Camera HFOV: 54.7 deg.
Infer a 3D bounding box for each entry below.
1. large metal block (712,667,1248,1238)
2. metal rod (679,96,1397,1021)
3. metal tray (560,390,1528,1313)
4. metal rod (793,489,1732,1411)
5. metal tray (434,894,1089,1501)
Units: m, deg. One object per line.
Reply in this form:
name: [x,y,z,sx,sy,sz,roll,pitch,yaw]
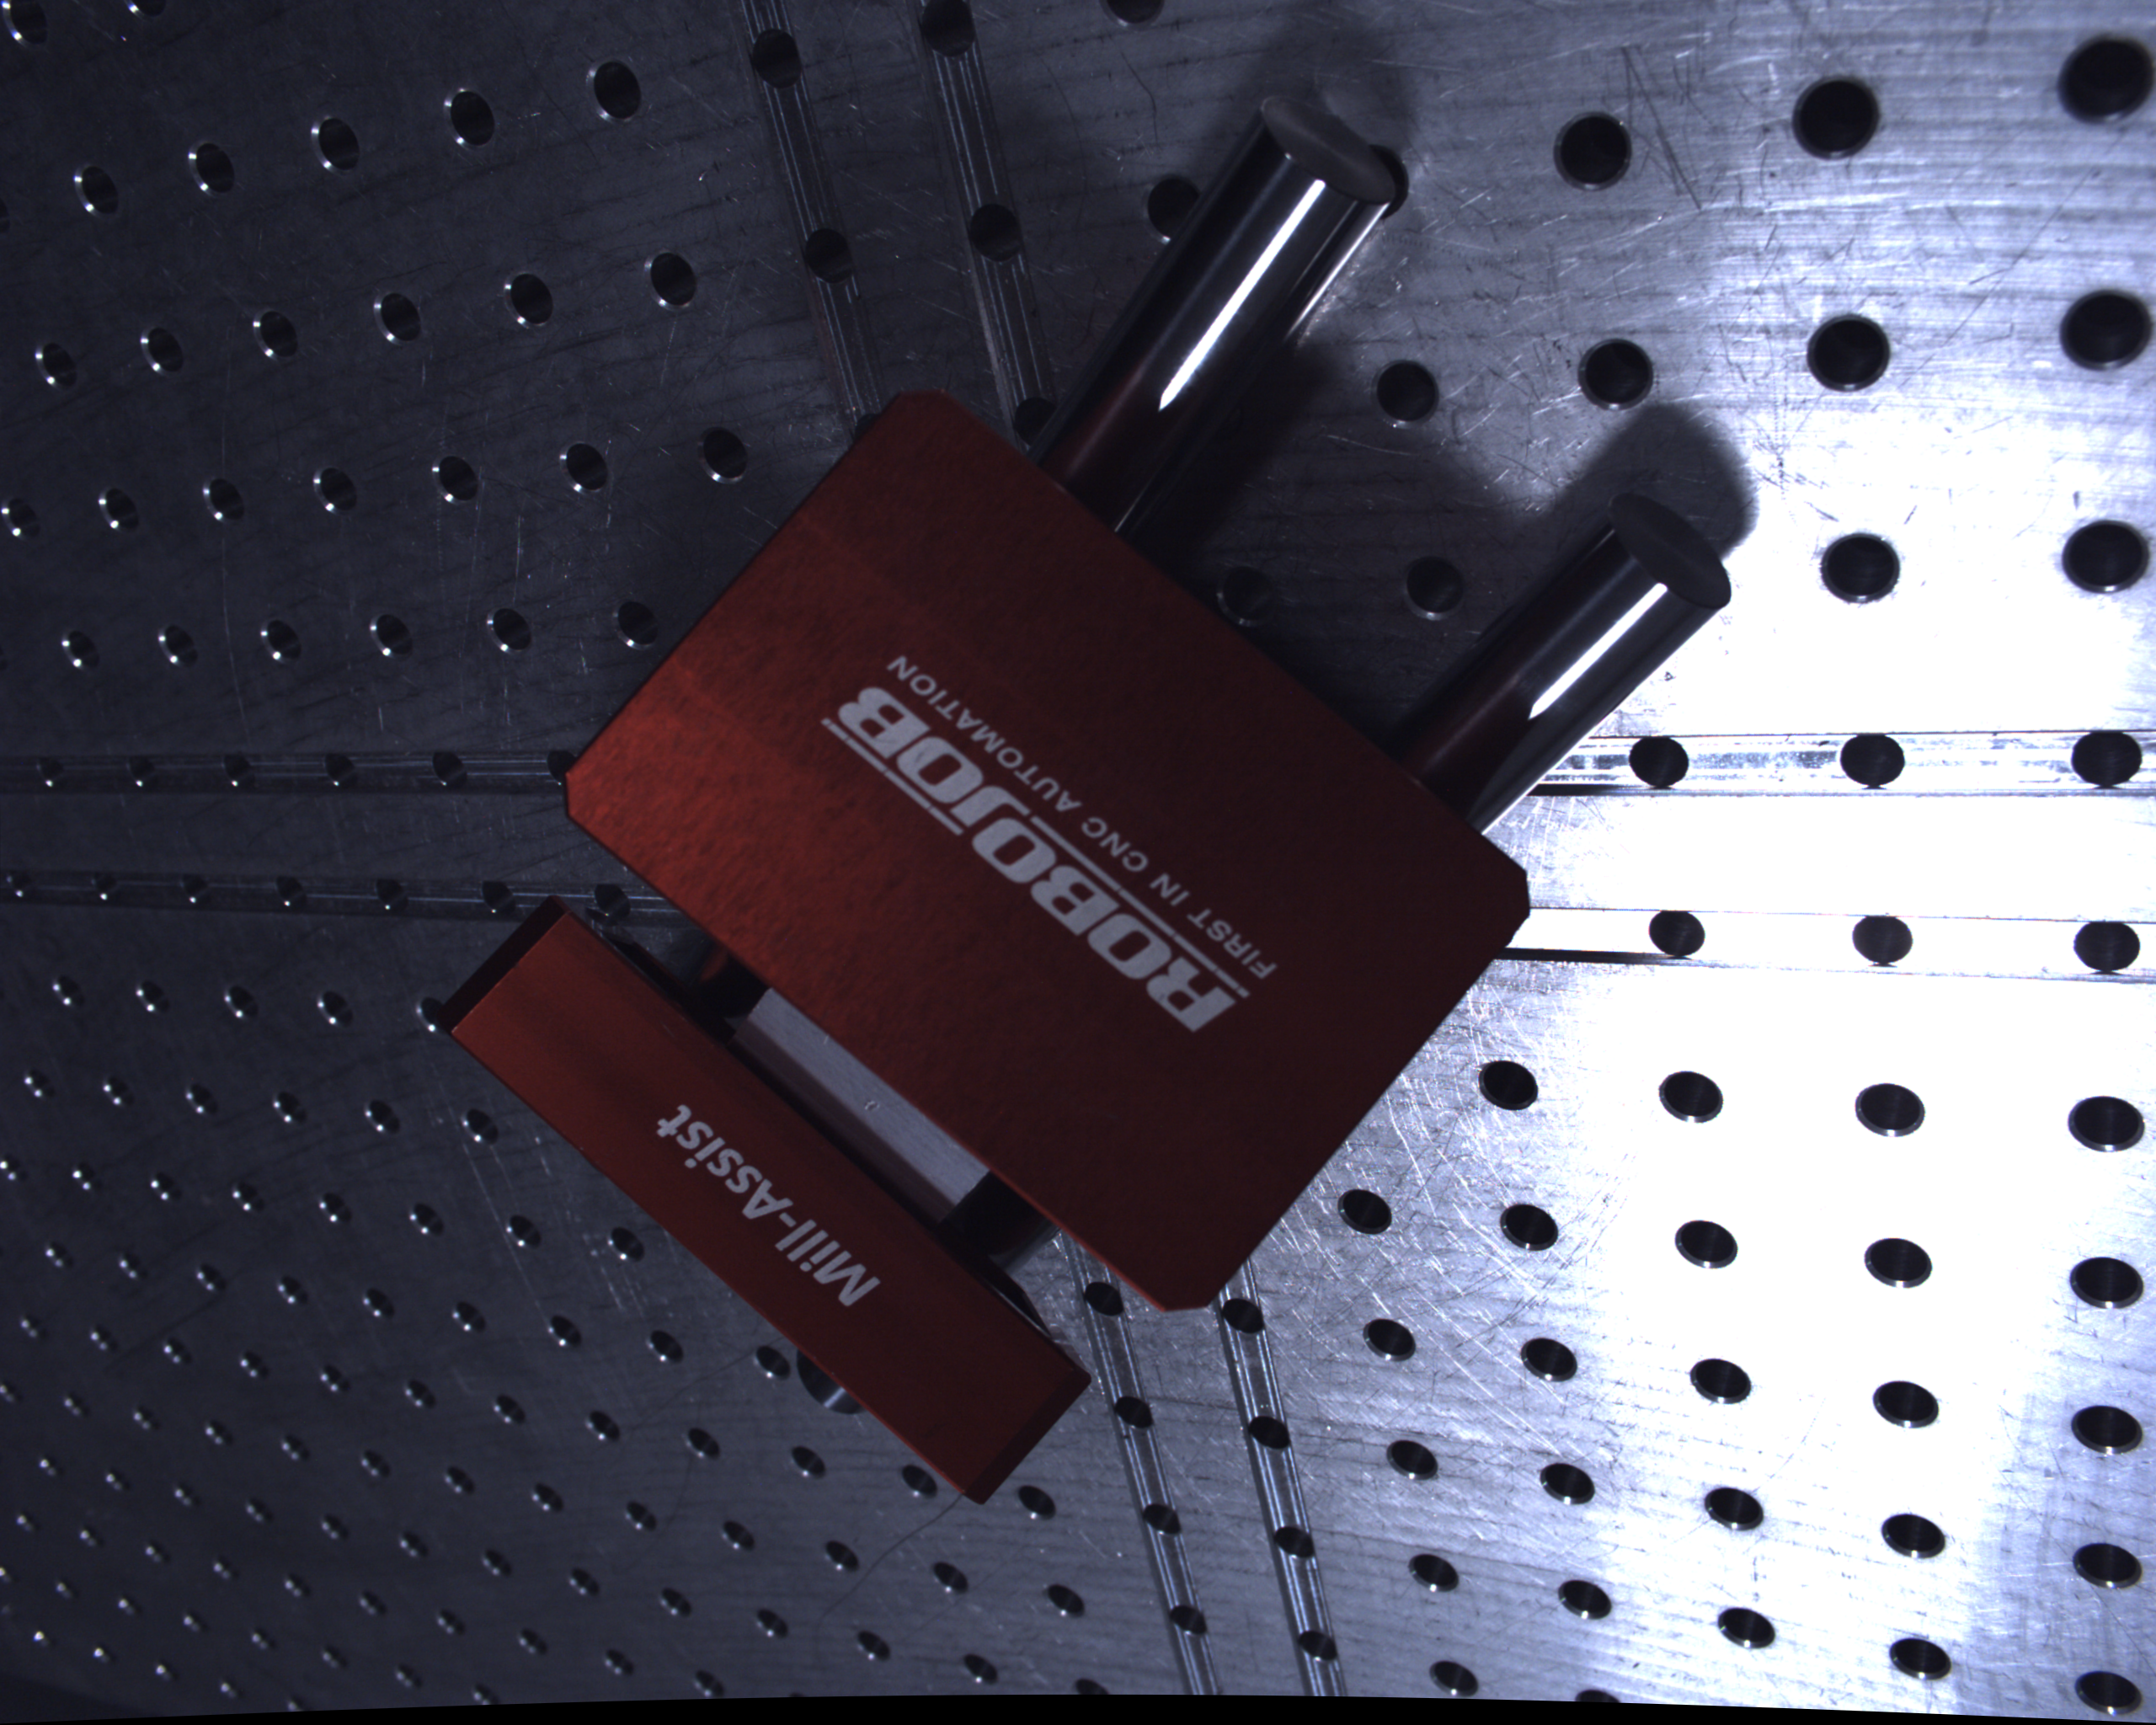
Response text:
large metal block: [-0.016,0.016,0.392,0.050,0.080,0.080,41,129,0]
metal rod: [-0.036,-0.021,0.416,0.025,0.025,0.298,40,129,0]
metal tray: [-0.005,-0.002,0.341,0.130,0.030,0.090,40,85,0]
metal rod: [0.017,0.037,0.424,0.025,0.025,0.298,41,129,0]
metal tray: [-0.060,0.062,0.410,0.130,0.030,0.090,42,173,-2]
